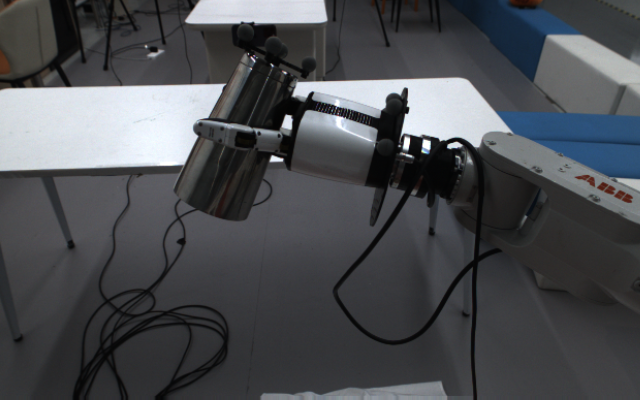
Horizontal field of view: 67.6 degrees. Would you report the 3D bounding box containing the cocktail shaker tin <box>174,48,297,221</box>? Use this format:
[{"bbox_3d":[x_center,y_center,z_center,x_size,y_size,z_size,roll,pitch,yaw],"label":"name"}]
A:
[{"bbox_3d":[-0.087,-0.073,0.545,0.093,0.170,0.093,24,12,-6],"label":"cocktail shaker tin"}]
